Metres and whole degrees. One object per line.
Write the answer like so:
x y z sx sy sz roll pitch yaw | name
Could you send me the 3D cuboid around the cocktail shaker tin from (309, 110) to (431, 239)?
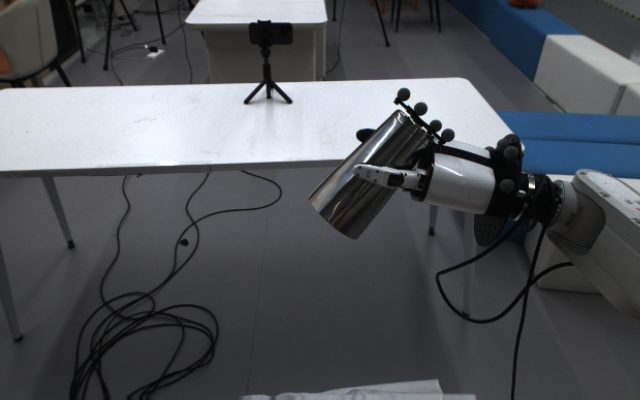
0.074 -0.043 0.668 0.093 0.170 0.093 41 12 -11 | cocktail shaker tin
